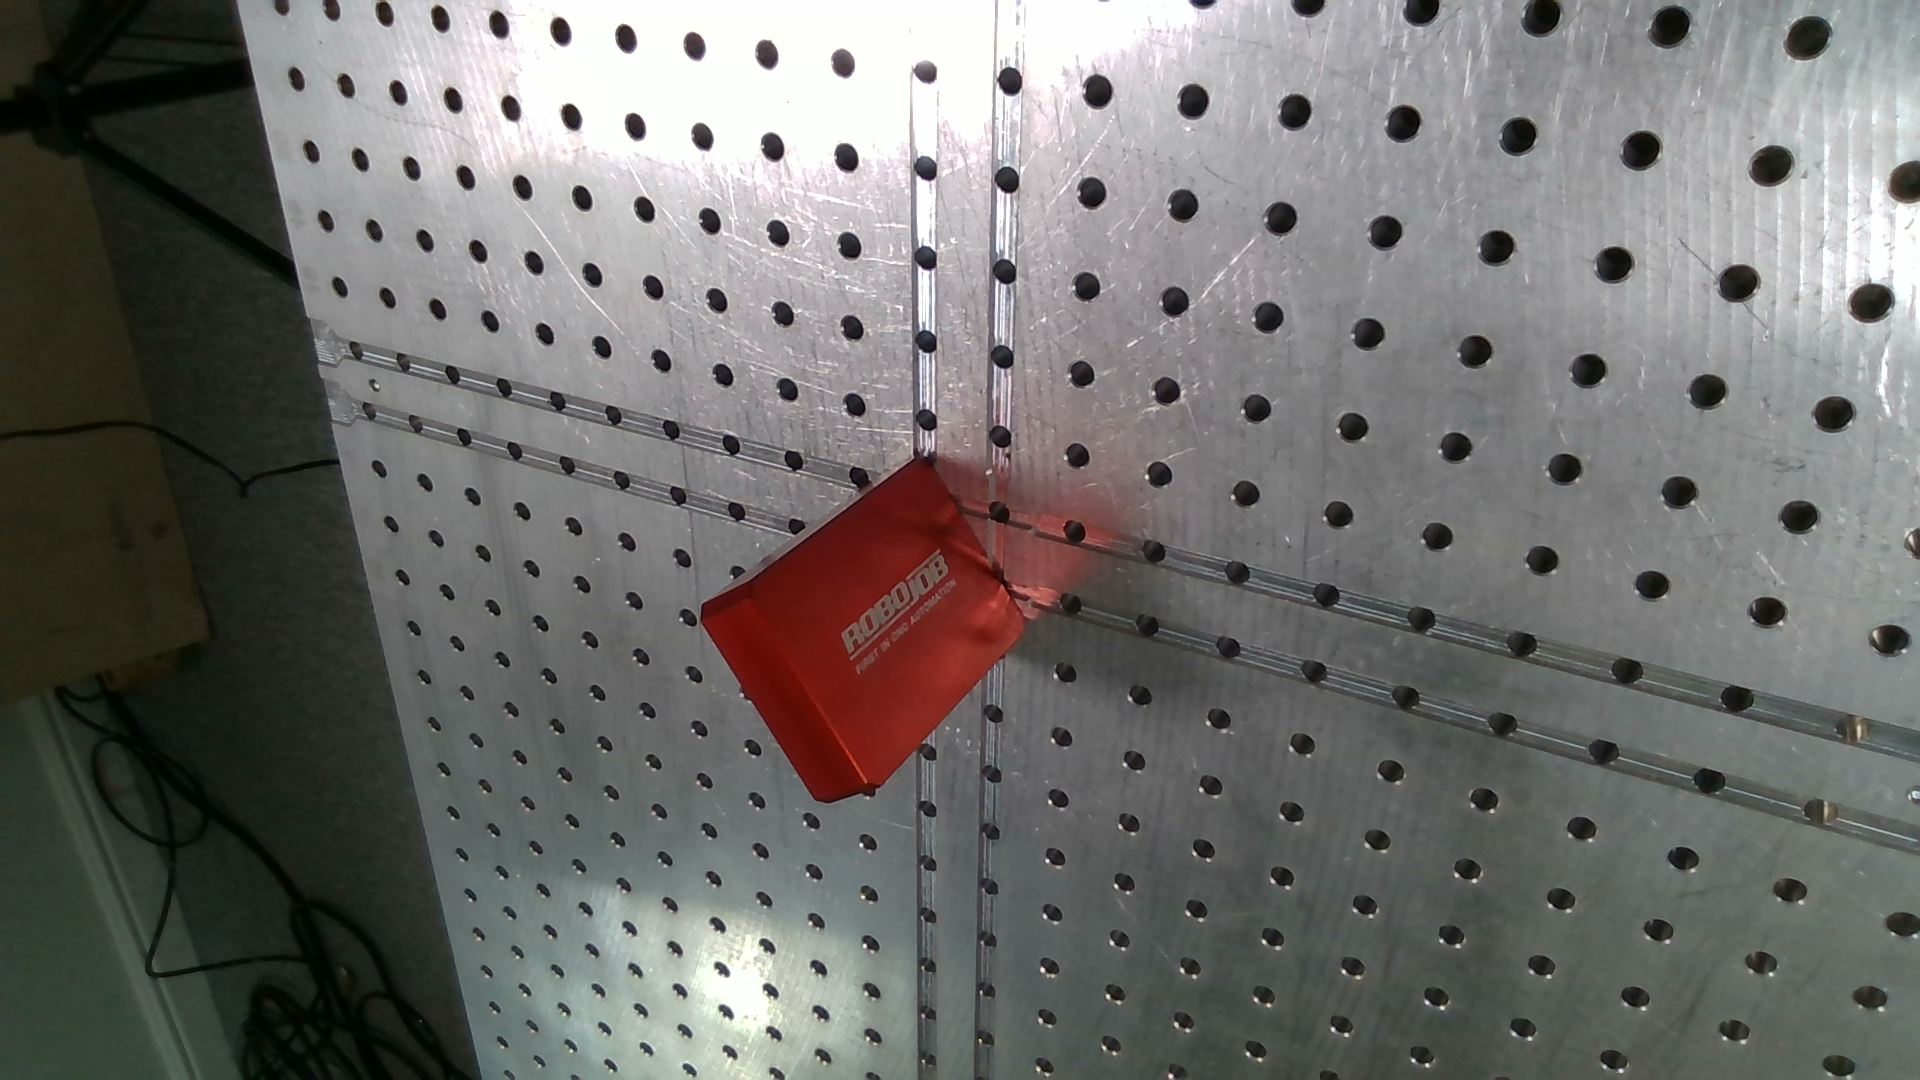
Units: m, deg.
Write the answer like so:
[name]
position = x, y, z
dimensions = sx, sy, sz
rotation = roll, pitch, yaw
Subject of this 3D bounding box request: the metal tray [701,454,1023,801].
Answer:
[metal tray]
position = -0.034, 0.031, 0.553
dimensions = 0.030, 0.130, 0.090
rotation = -24, 101, 38
